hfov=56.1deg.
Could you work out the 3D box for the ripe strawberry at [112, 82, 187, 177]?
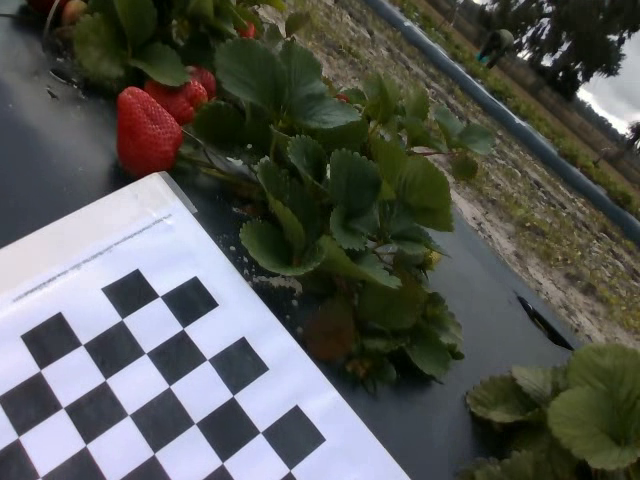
[{"bbox_3d":[-0.126,-0.081,0.422,0.057,0.056,0.065,3,-33,16],"label":"ripe strawberry"}]
